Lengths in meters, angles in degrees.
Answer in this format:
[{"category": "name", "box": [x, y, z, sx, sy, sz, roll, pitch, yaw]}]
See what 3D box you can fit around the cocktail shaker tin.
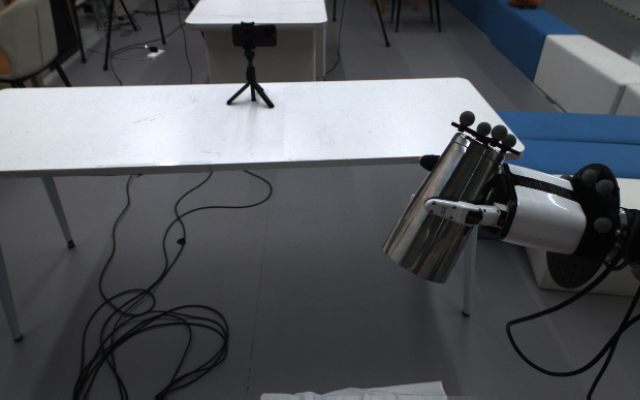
[{"category": "cocktail shaker tin", "box": [0.160, 0.005, 0.603, 0.093, 0.170, 0.093, 24, 12, -6]}]
